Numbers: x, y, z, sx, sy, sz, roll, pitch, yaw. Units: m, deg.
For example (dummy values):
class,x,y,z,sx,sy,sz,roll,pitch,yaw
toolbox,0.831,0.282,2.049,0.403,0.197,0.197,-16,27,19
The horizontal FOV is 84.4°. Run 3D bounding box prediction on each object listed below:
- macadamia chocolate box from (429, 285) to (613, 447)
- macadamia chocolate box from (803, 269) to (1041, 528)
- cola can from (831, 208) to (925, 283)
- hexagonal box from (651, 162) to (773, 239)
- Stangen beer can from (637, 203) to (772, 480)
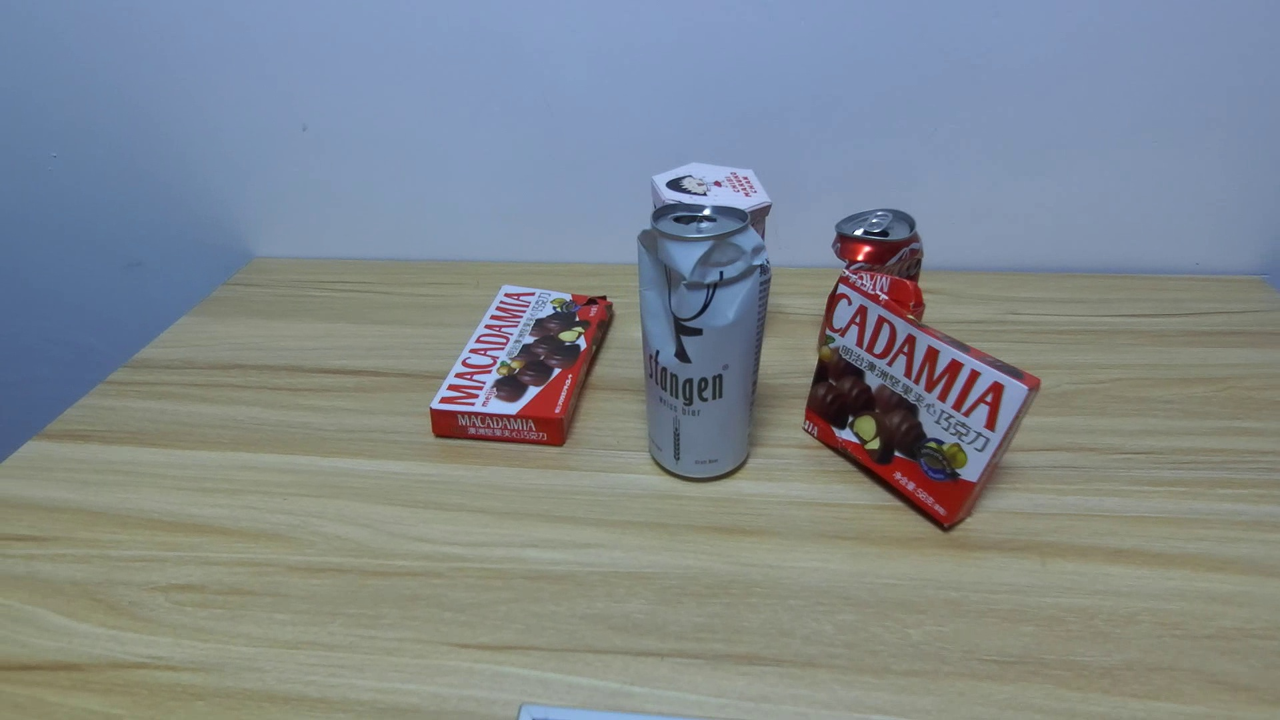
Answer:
class,x,y,z,sx,sy,sz,roll,pitch,yaw
macadamia chocolate box,-0.083,-0.006,0.551,0.102,0.027,0.186,4,36,6
macadamia chocolate box,0.162,0.019,0.422,0.056,0.112,0.126,-20,38,-25
cola can,0.170,-0.051,0.522,0.069,0.112,0.065,-8,36,-11
hexagonal box,0.049,-0.072,0.540,0.085,0.135,0.092,-7,35,-8
Stangen beer can,0.037,-0.008,0.421,0.066,0.166,0.065,-15,35,-18
